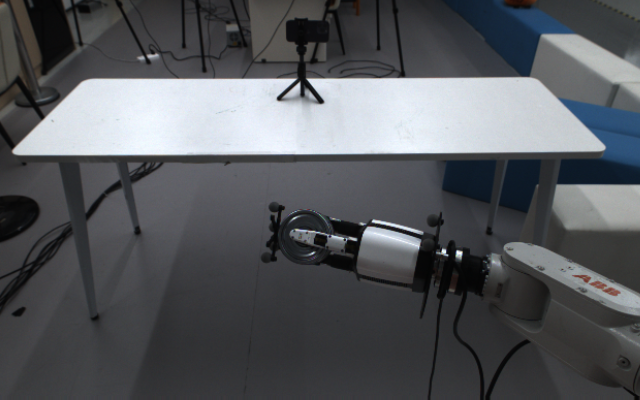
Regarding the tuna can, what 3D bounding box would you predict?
[{"bbox_3d":[-0.019,0.056,0.746,0.085,0.085,0.034,9,-6,10],"label":"tuna can"}]
